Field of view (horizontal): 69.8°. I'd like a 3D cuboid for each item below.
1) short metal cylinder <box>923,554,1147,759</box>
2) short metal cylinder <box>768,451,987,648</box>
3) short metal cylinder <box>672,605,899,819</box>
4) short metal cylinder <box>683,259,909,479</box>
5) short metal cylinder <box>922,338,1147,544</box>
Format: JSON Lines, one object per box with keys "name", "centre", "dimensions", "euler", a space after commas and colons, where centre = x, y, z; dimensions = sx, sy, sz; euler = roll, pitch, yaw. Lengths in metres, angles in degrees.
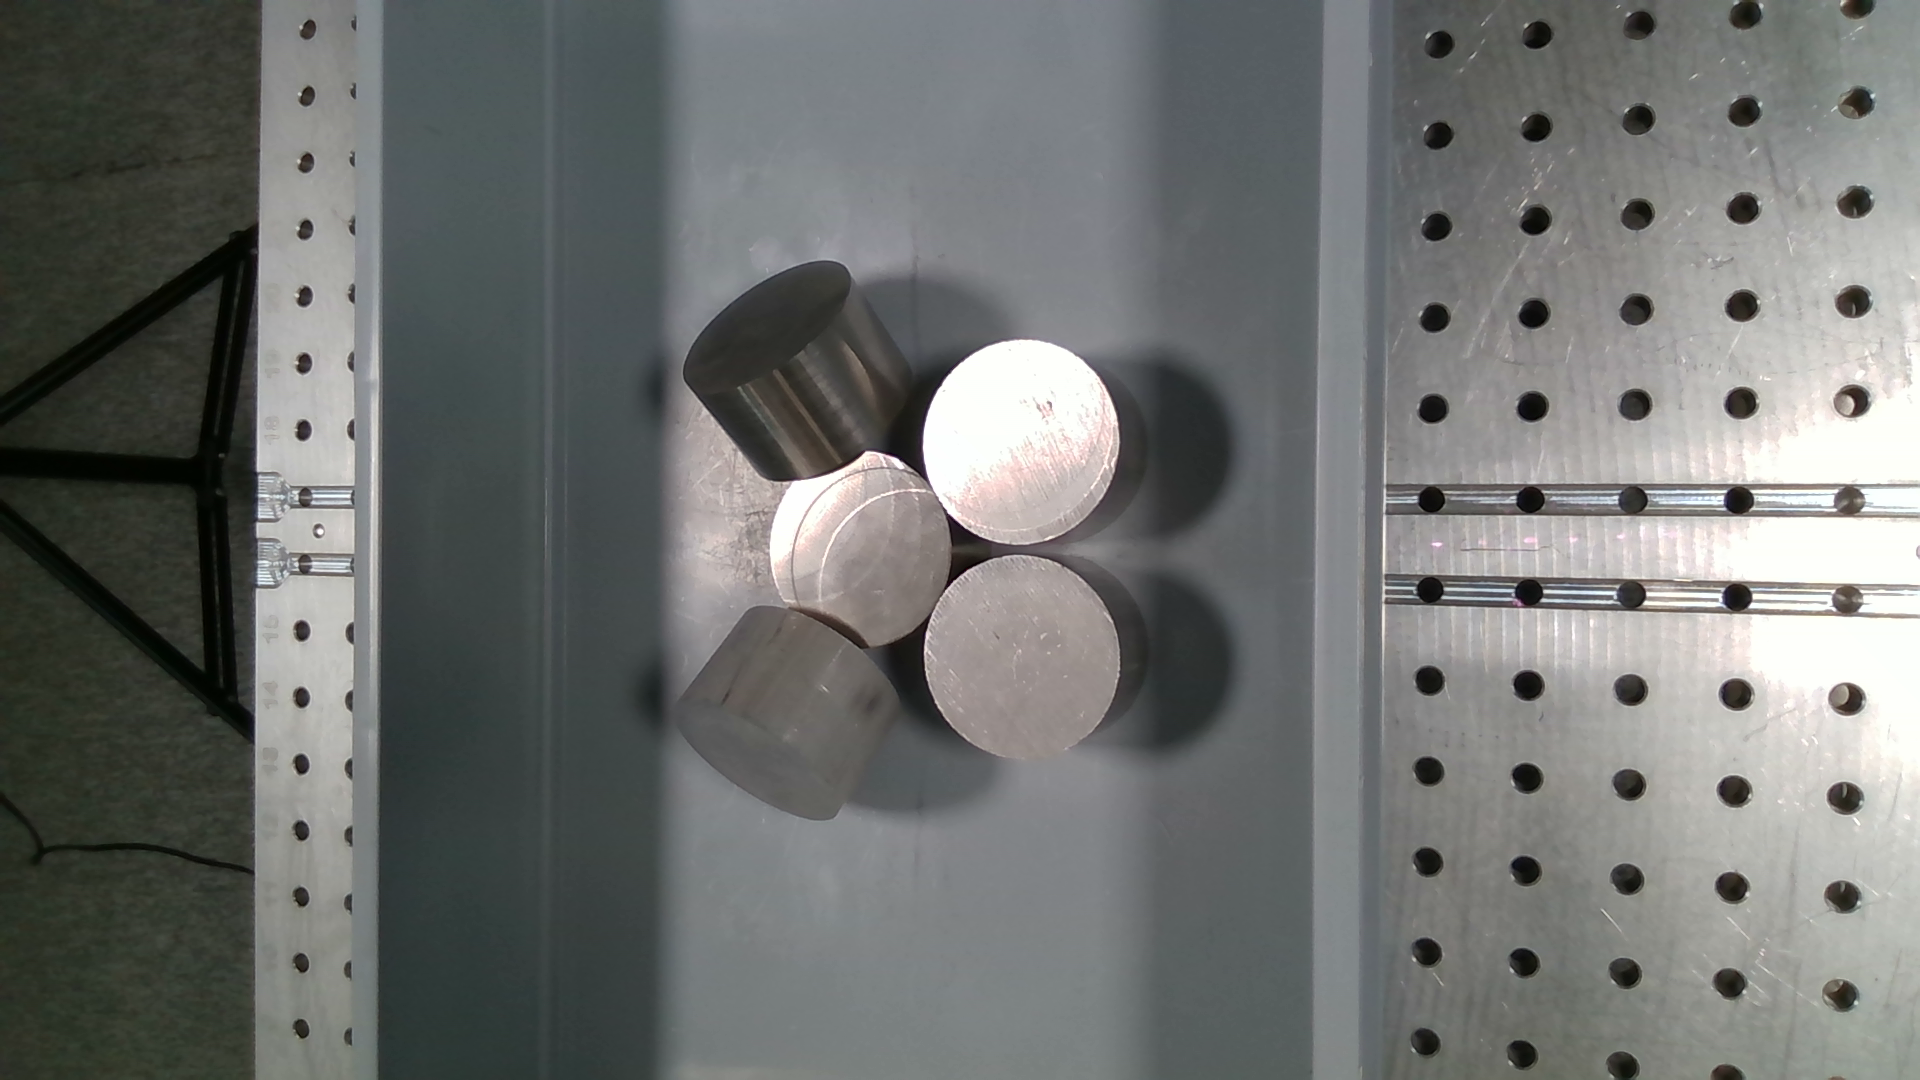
{"name": "short metal cylinder", "centre": [0.031, 0.046, 0.560], "dimensions": [0.080, 0.050, 0.080], "euler": [0, 90, 20]}
{"name": "short metal cylinder", "centre": [-0.033, 0.004, 0.582], "dimensions": [0.080, 0.050, 0.080], "euler": [0, 90, 20]}
{"name": "short metal cylinder", "centre": [-0.072, 0.072, 0.576], "dimensions": [0.080, 0.080, 0.050], "euler": [22, 58, 19]}
{"name": "short metal cylinder", "centre": [-0.067, -0.071, 0.573], "dimensions": [0.080, 0.080, 0.050], "euler": [-21, 127, 19]}
{"name": "short metal cylinder", "centre": [0.031, -0.039, 0.558], "dimensions": [0.080, 0.050, 0.080], "euler": [0, 90, 20]}
